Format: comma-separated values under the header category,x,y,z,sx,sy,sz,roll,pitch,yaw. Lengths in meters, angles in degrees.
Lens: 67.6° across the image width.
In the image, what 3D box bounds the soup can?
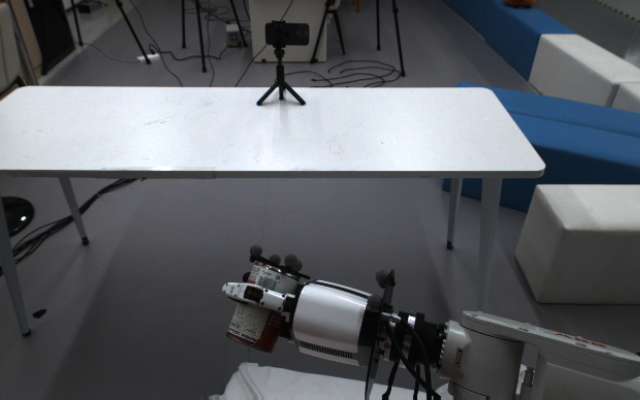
category,x,y,z,sx,sy,sz,roll,pitch,yaw
soup can,-0.072,0.142,0.638,0.067,0.067,0.101,16,75,19
